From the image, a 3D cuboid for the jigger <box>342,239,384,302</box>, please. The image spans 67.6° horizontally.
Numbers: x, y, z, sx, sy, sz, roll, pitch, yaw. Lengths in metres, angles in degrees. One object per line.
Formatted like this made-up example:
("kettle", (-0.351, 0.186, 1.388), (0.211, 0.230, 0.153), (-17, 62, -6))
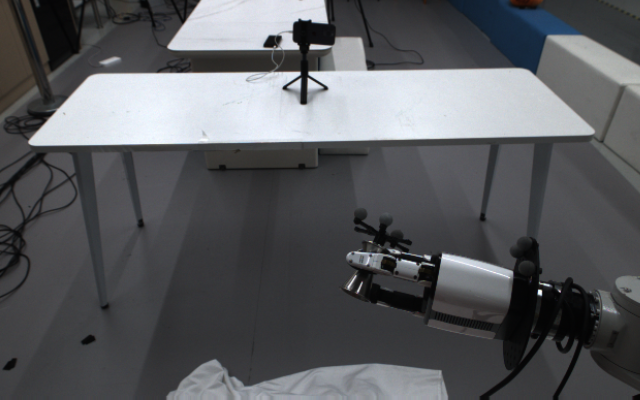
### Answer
("jigger", (0.057, 0.088, 0.612), (0.043, 0.043, 0.071), (20, 73, 25))
